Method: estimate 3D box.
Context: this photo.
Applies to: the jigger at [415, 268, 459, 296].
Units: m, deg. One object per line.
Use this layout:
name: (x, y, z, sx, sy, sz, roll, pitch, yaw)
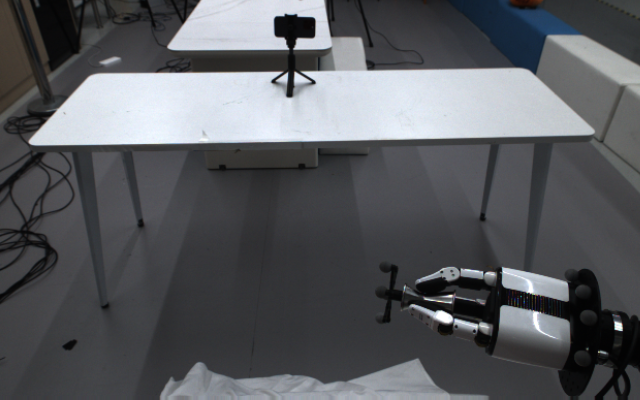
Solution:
jigger: (0.153, 0.134, 0.657, 0.071, 0.043, 0.043, 8, 35, 15)
